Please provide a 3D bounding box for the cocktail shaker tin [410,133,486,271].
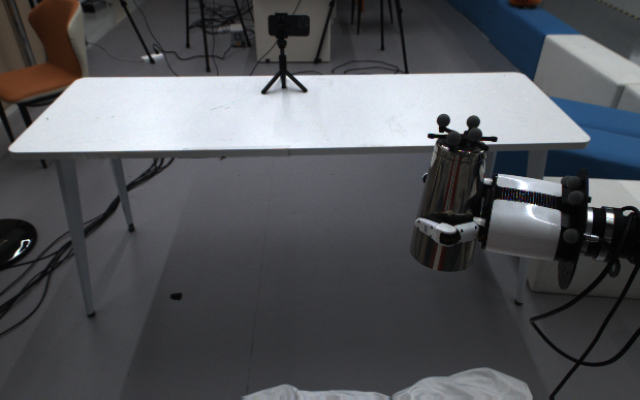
[{"bbox_3d":[0.182,0.001,0.667,0.093,0.170,0.093,2,28,-1],"label":"cocktail shaker tin"}]
